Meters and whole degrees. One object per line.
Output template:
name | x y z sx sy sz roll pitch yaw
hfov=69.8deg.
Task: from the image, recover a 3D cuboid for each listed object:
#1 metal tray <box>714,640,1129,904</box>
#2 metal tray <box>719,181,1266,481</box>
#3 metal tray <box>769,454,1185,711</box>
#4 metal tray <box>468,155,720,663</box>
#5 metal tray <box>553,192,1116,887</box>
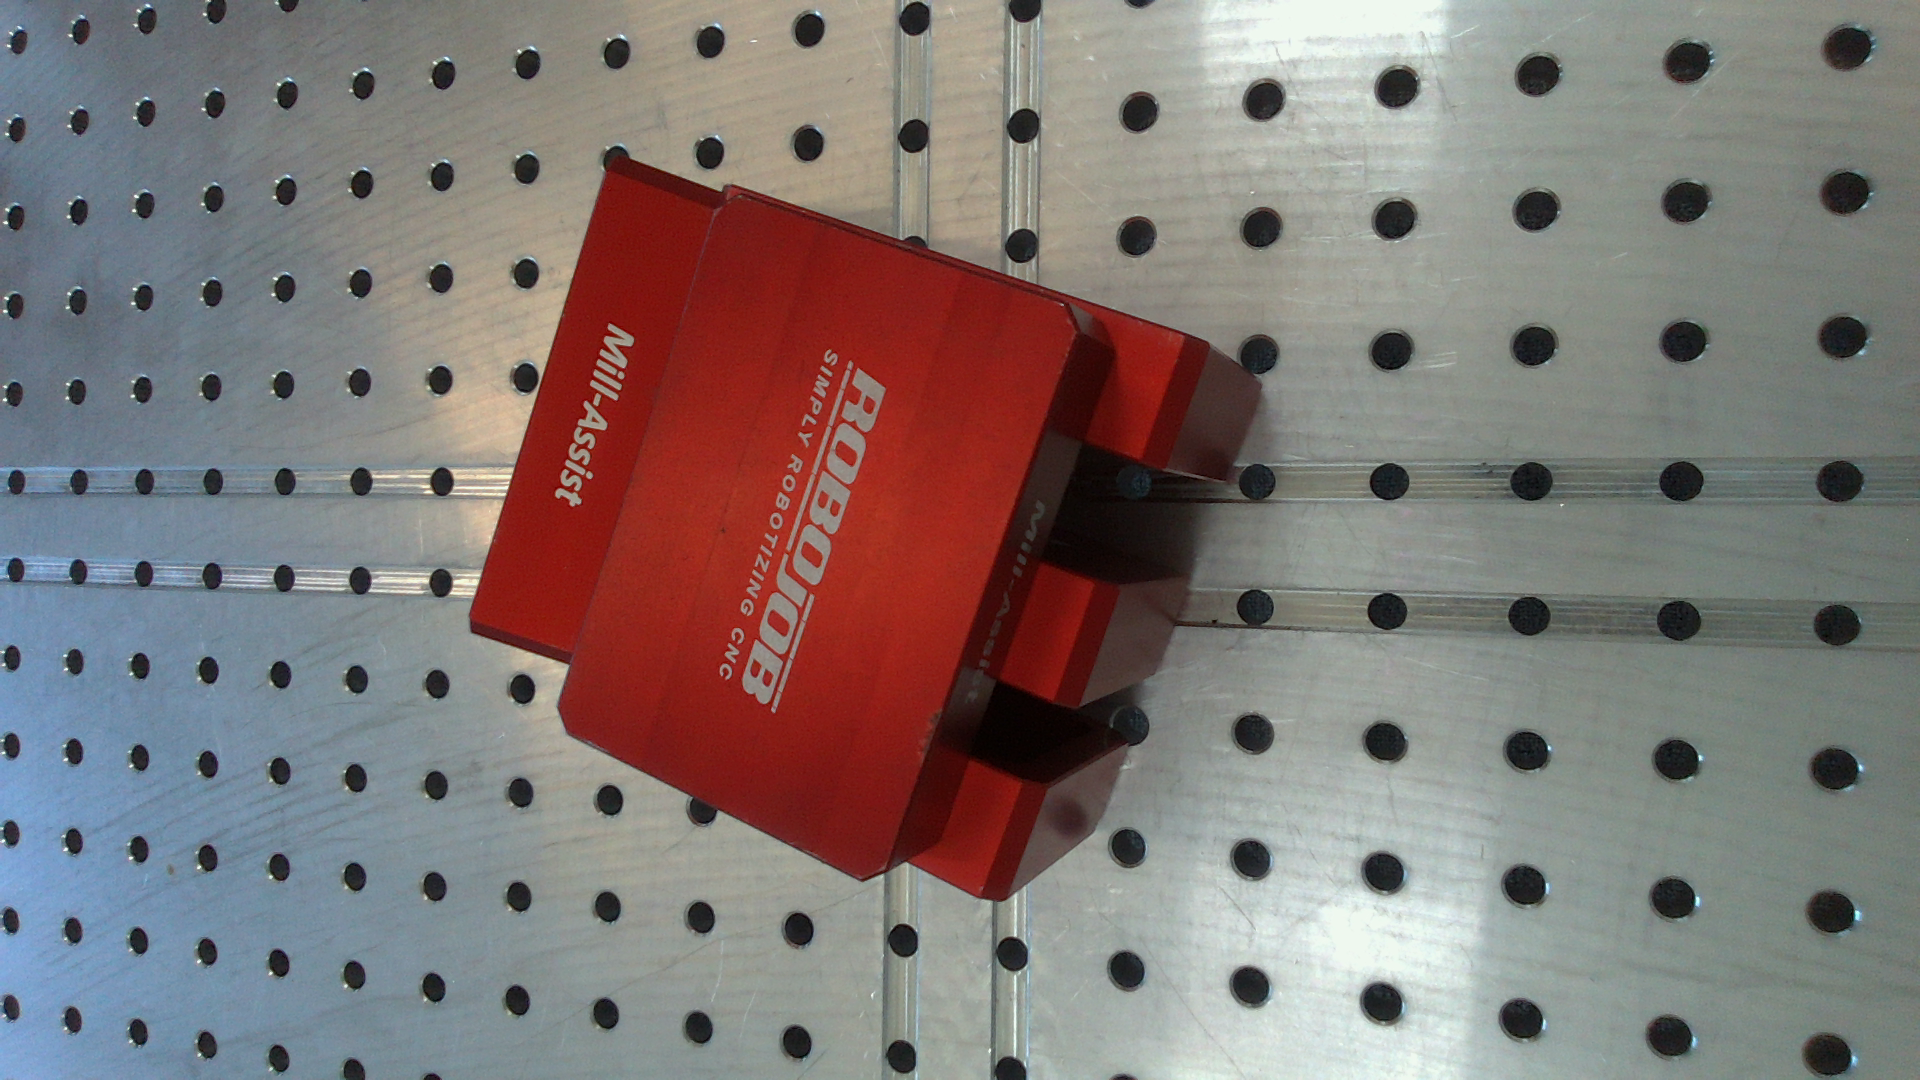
metal tray | -0.028 0.047 0.373 0.130 0.090 0.030 22 98 18
metal tray | 0.008 -0.053 0.360 0.130 0.090 0.030 22 98 19
metal tray | -0.012 0.003 0.367 0.130 0.090 0.030 21 96 18
metal tray | -0.094 -0.037 0.395 0.030 0.090 0.130 19 97 -3
metal tray | -0.030 -0.001 0.310 0.090 0.030 0.130 22 97 19
